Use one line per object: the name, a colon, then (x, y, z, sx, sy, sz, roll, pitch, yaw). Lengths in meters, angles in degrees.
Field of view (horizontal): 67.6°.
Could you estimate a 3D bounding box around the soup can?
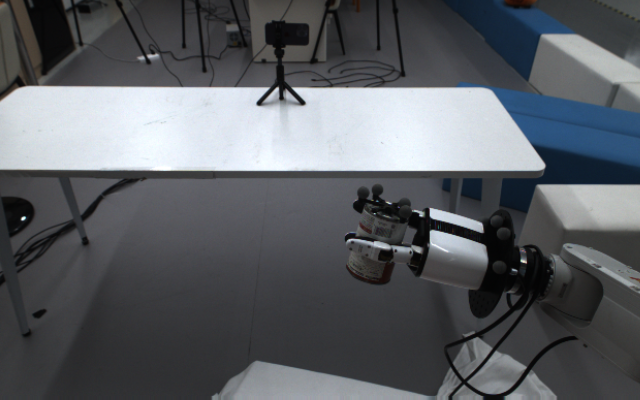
soup can: (0.083, 0.061, 0.695, 0.067, 0.101, 0.067, 13, 18, -4)
